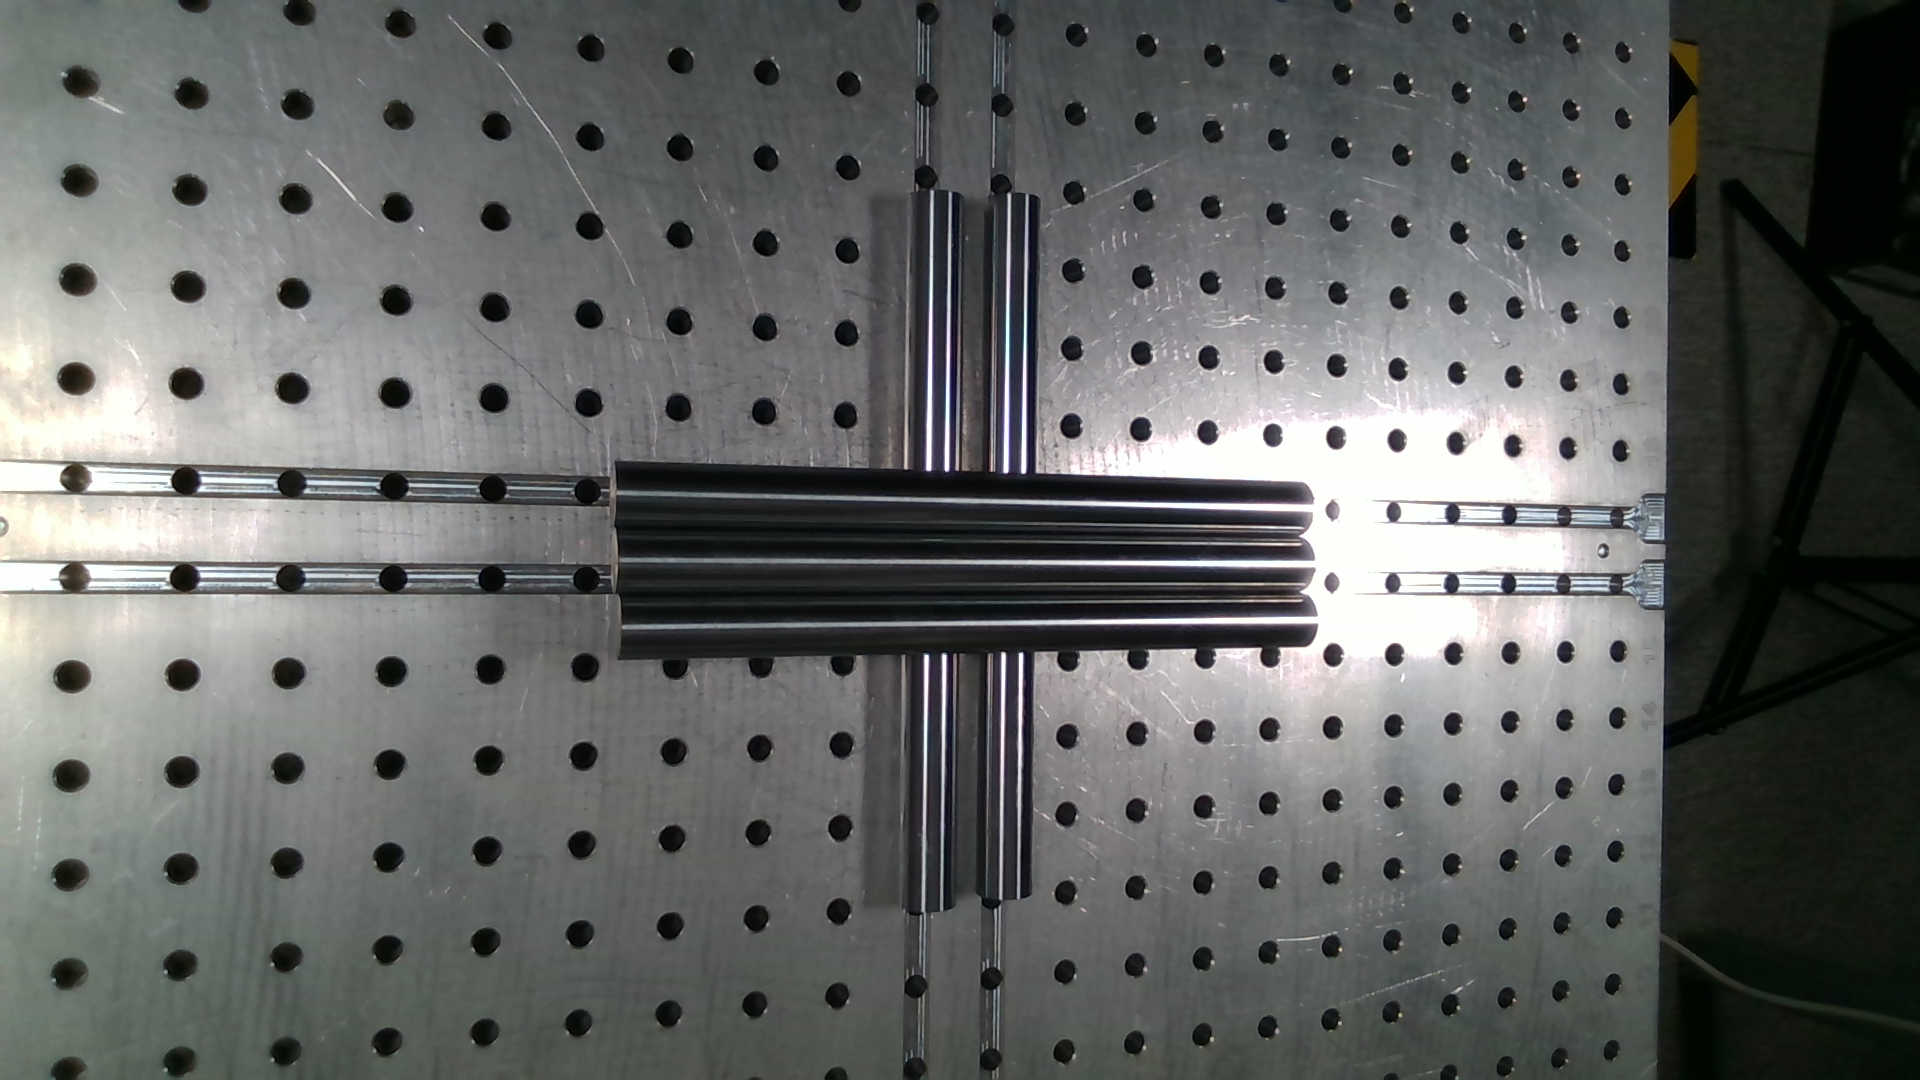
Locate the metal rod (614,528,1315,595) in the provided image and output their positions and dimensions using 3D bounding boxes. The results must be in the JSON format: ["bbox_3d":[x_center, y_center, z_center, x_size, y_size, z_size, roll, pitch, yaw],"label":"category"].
[{"bbox_3d":[0.012,0.009,0.567,0.300,0.025,0.025,1,90,-20],"label":"metal rod"}]

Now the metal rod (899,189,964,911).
[{"bbox_3d":[-0.012,0.004,0.584,0.025,0.025,0.300,1,90,-20],"label":"metal rod"}]

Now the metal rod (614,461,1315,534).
[{"bbox_3d":[0.011,-0.016,0.566,0.300,0.025,0.025,1,90,-20],"label":"metal rod"}]

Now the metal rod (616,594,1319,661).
[{"bbox_3d":[0.013,0.034,0.567,0.300,0.025,0.025,1,90,-20],"label":"metal rod"}]

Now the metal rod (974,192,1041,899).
[{"bbox_3d":[0.021,0.002,0.596,0.025,0.025,0.300,1,90,-20],"label":"metal rod"}]
